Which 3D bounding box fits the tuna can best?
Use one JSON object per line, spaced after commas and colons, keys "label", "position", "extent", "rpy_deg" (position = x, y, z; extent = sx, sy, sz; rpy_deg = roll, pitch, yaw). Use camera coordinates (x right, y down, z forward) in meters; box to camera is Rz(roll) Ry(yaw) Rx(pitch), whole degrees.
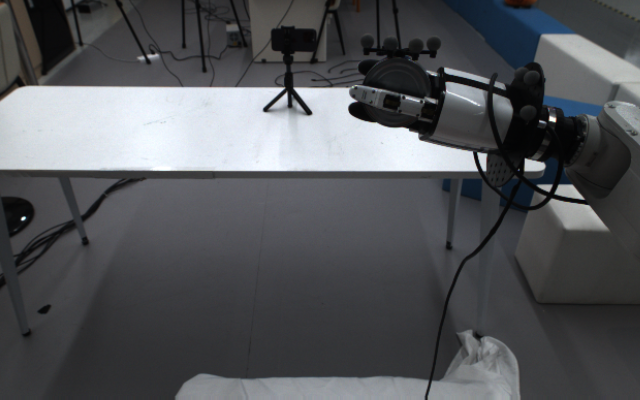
{"label": "tuna can", "position": [0.096, -0.138, 0.610], "extent": [0.085, 0.085, 0.034], "rpy_deg": [9, 24, 9]}
